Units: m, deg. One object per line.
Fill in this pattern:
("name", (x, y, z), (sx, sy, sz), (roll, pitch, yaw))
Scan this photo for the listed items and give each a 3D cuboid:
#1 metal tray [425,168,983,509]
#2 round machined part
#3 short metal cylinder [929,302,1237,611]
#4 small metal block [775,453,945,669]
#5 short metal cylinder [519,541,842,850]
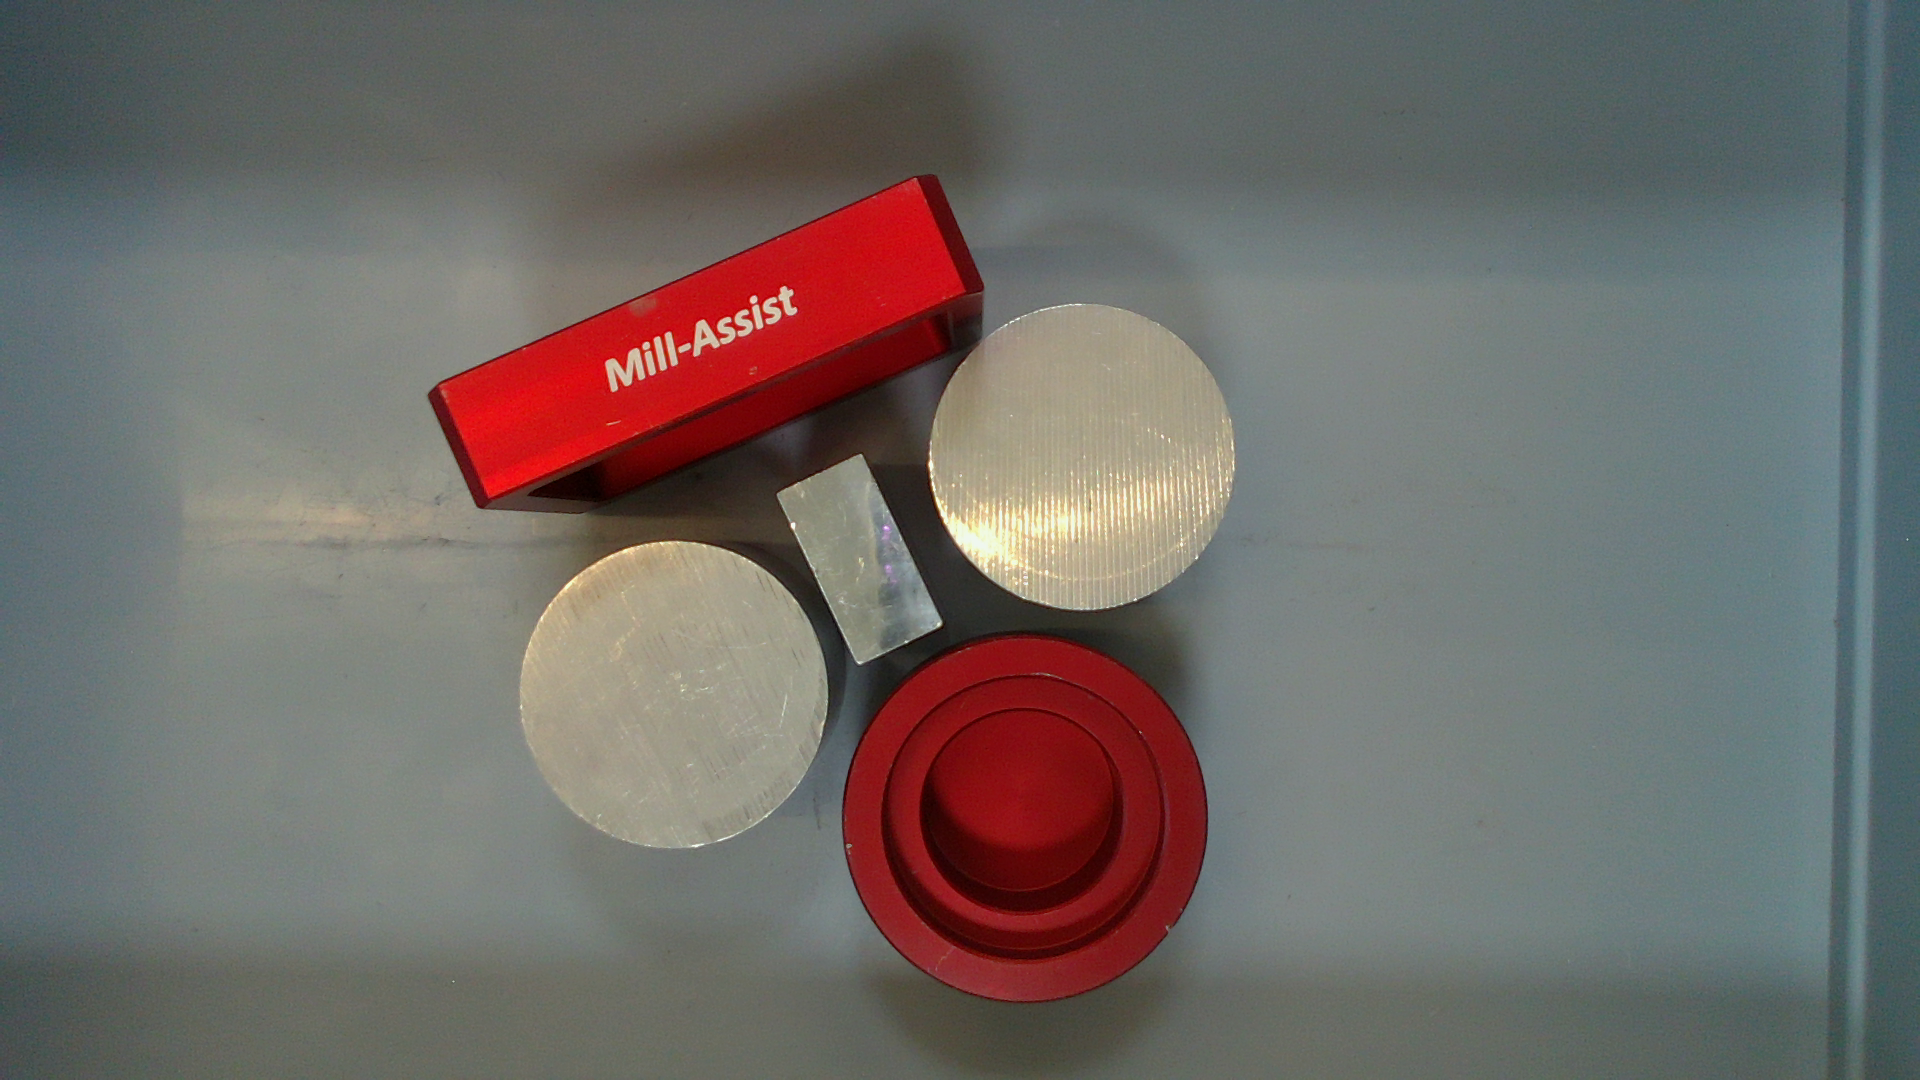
("metal tray", (-0.059, -0.047, 0.360), (0.130, 0.090, 0.030), (-24, 90, 1))
("round machined part", (0.017, 0.074, 0.386), (0.098, 0.042, 0.098), (0, 90, 0))
("short metal cylinder", (0.032, -0.022, 0.382), (0.080, 0.050, 0.080), (0, 90, 0))
("small metal block", (-0.026, 0.005, 0.381), (0.025, 0.050, 0.050), (-25, 90, 0))
("short metal cylinder", (-0.074, 0.040, 0.381), (0.080, 0.050, 0.080), (0, 90, 0))
